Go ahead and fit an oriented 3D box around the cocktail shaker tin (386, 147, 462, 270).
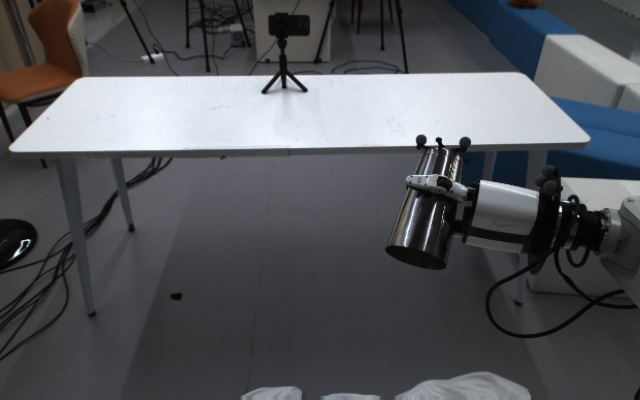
[{"bbox_3d":[0.166,0.009,0.735,0.093,0.093,0.170,13,71,16],"label":"cocktail shaker tin"}]
